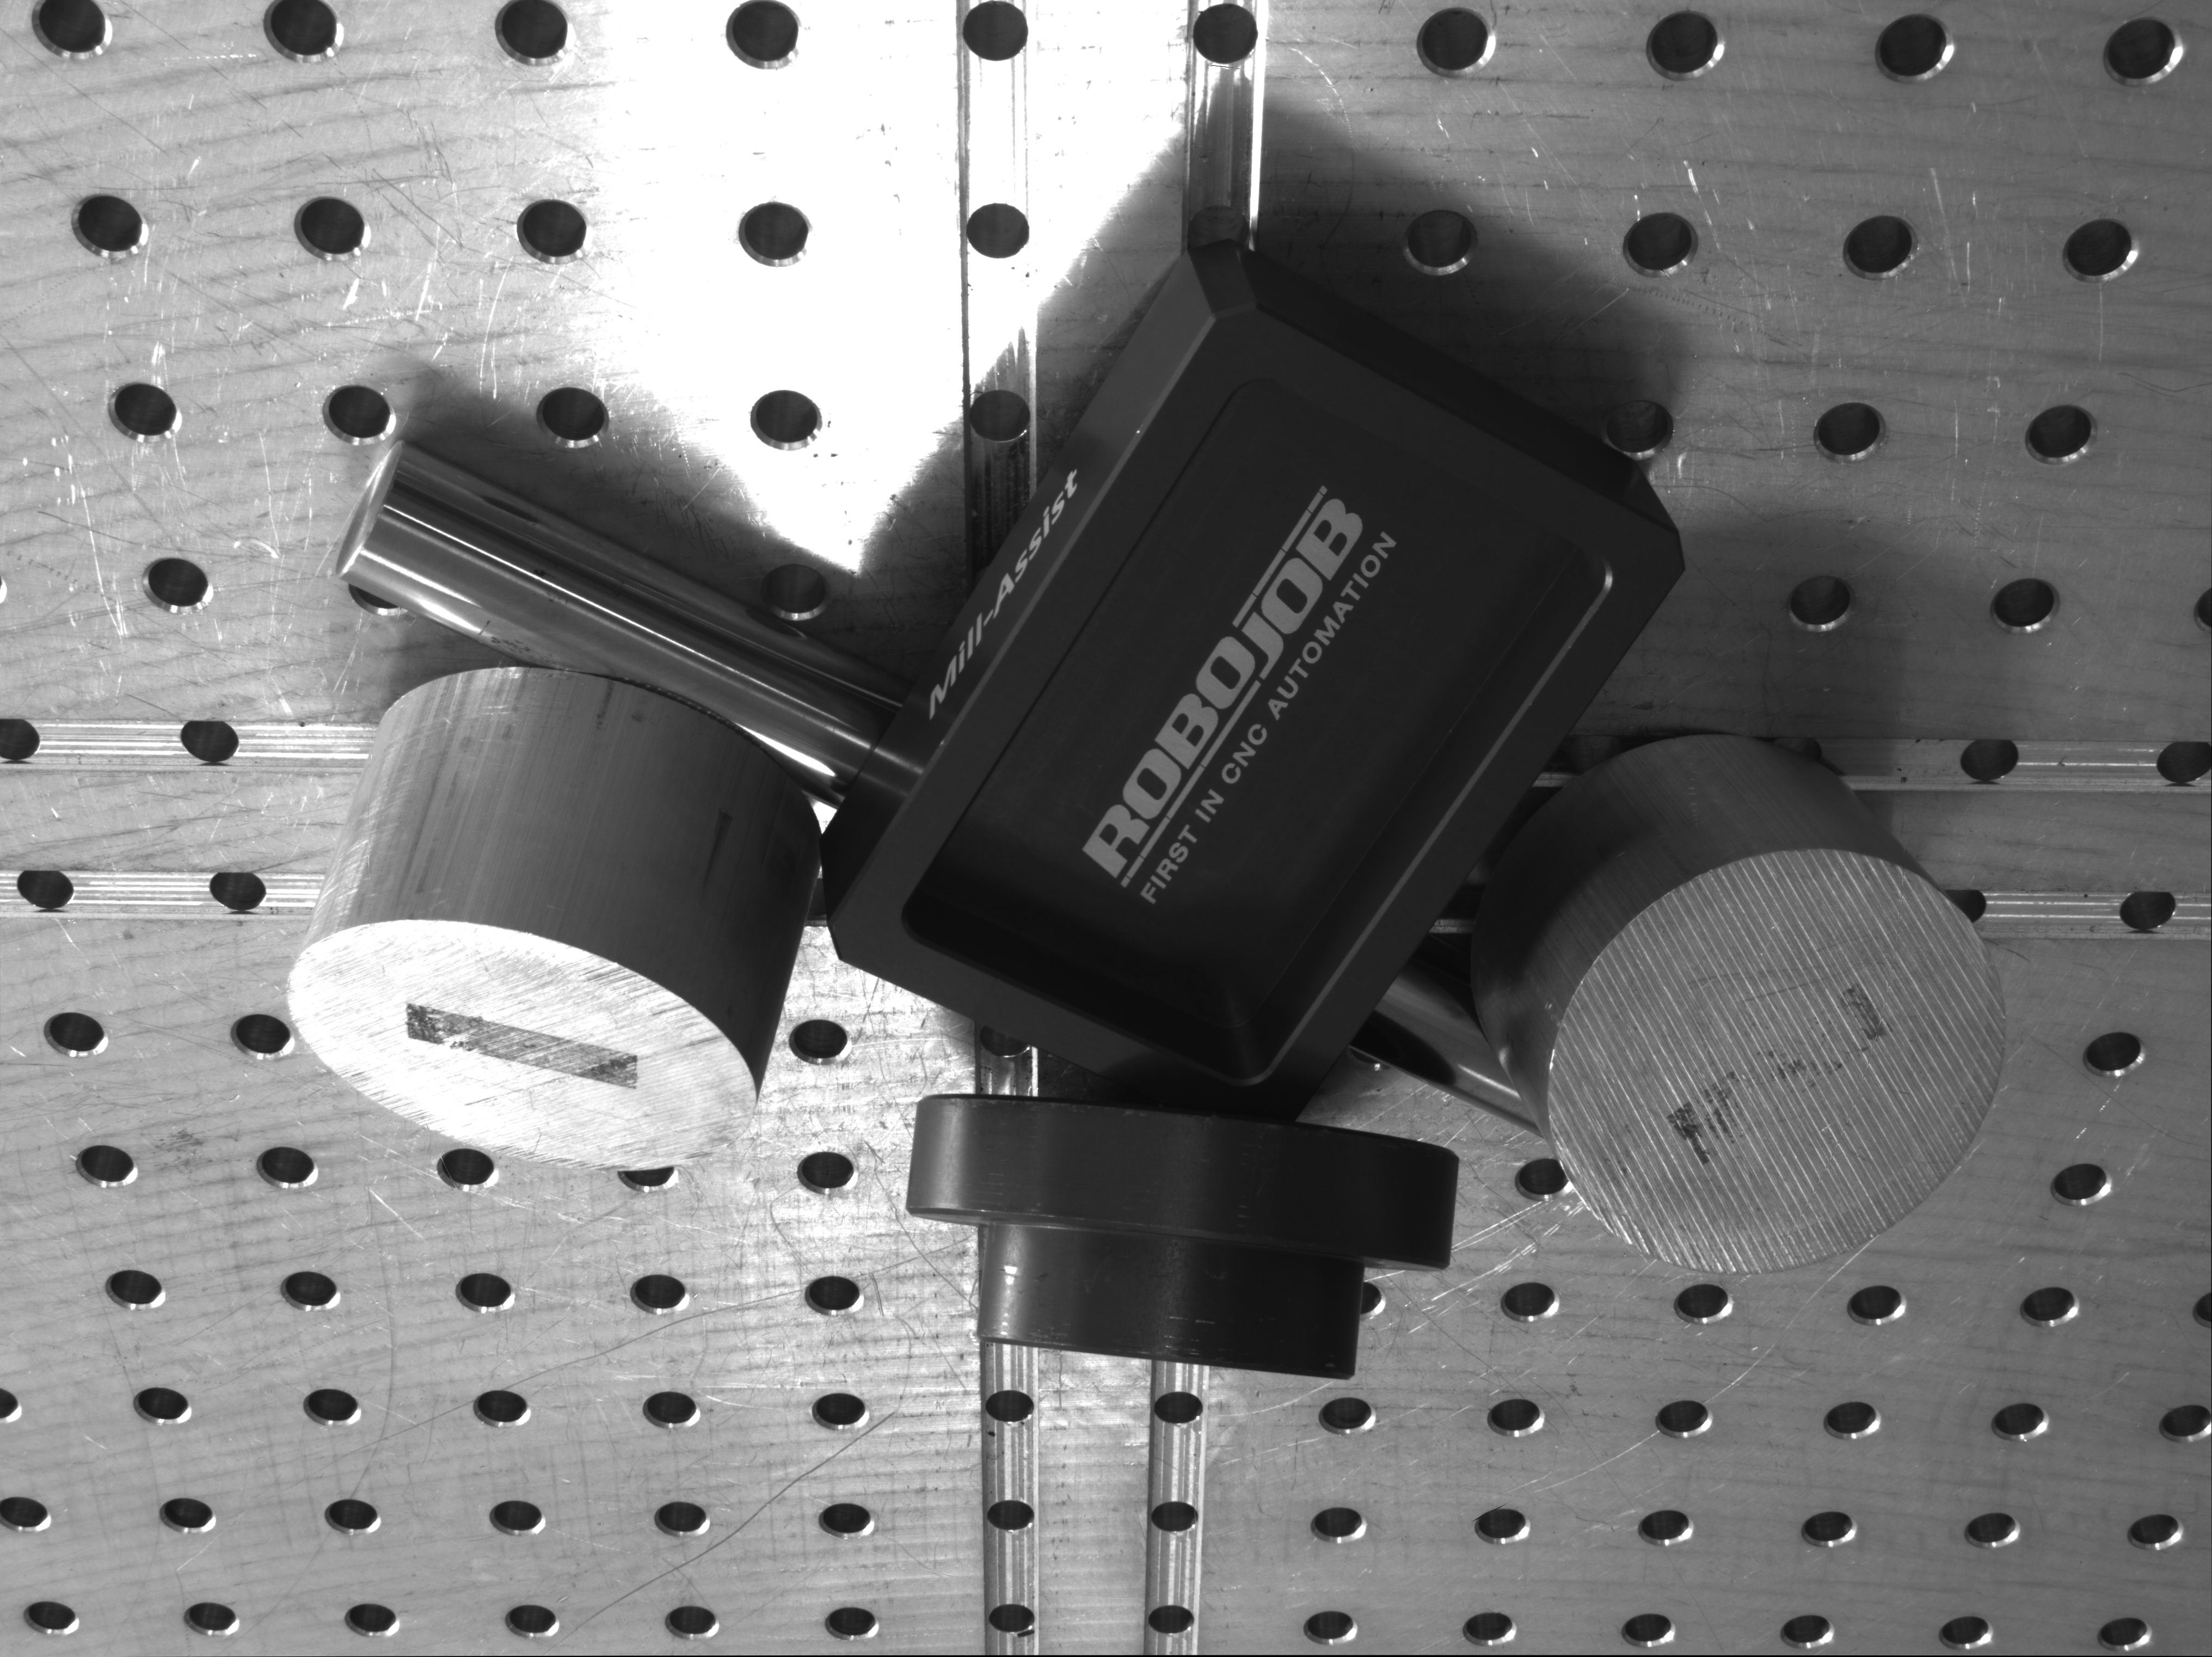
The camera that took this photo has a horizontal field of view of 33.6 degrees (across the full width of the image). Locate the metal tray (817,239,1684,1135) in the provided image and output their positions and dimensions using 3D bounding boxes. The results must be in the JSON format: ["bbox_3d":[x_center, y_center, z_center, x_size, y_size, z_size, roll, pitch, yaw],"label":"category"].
[{"bbox_3d":[0.022,-0.020,0.604,0.090,0.030,0.130,25,112,-20],"label":"metal tray"}]

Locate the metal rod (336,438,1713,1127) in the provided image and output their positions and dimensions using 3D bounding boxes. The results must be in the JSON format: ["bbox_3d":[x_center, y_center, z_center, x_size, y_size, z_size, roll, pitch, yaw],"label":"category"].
[{"bbox_3d":[0.007,0.009,0.649,0.301,0.025,0.025,26,125,-20],"label":"metal rod"}]

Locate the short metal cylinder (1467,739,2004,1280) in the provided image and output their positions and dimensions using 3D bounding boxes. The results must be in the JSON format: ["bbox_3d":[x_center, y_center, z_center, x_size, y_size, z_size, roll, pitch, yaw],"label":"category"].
[{"bbox_3d":[0.108,0.031,0.637,0.080,0.050,0.080,-4,113,-10],"label":"short metal cylinder"}]

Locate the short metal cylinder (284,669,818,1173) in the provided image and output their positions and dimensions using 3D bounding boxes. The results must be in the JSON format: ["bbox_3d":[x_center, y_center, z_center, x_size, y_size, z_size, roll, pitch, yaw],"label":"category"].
[{"bbox_3d":[-0.093,0.017,0.624,0.080,0.050,0.080,8,147,6],"label":"short metal cylinder"}]

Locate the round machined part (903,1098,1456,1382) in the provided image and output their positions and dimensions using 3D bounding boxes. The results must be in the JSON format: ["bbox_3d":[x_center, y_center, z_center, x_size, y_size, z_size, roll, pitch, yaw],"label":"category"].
[{"bbox_3d":[0.012,0.075,0.659,0.098,0.042,0.098,6,172,1],"label":"round machined part"}]
